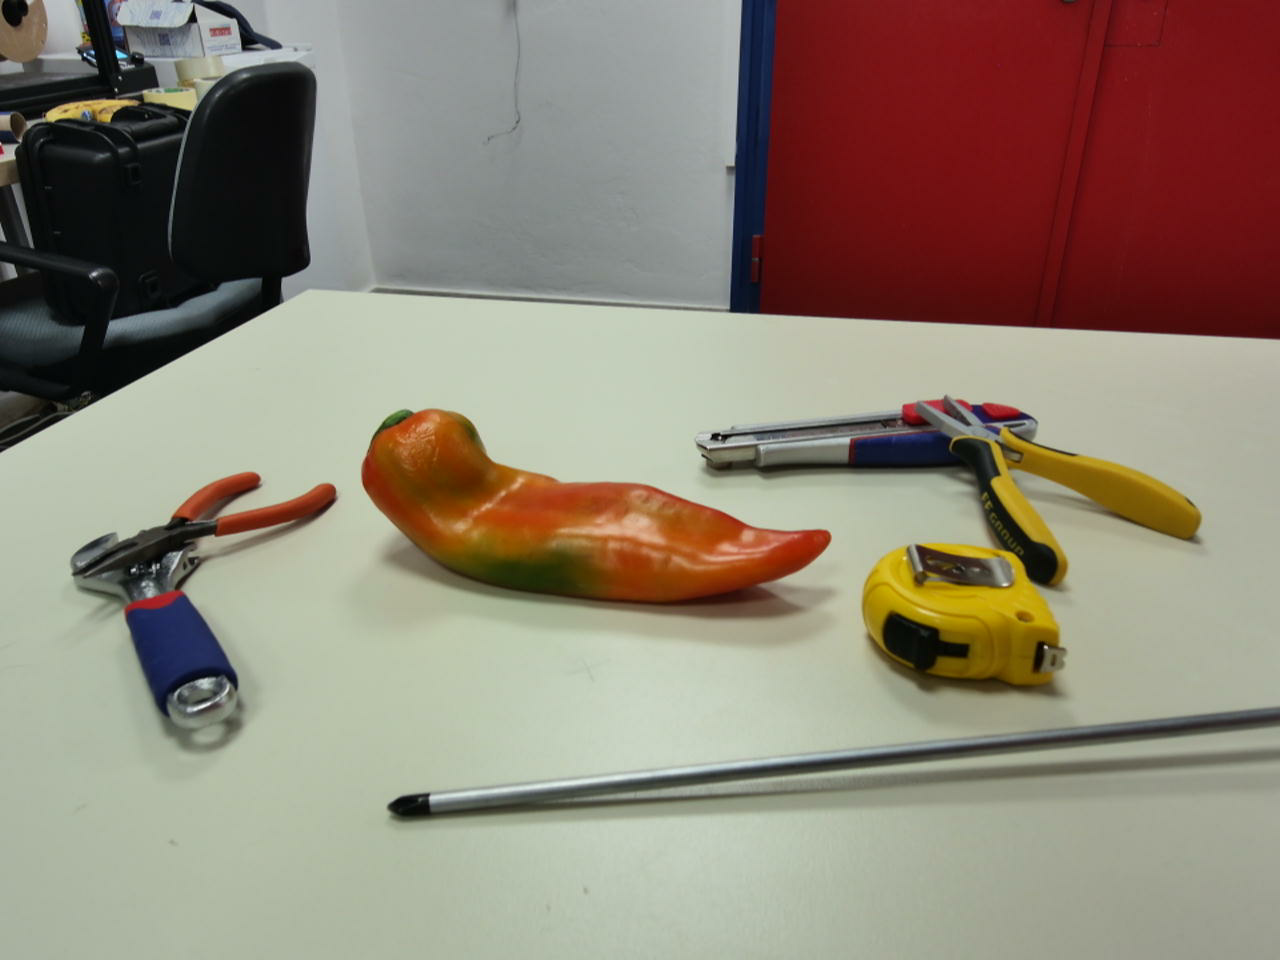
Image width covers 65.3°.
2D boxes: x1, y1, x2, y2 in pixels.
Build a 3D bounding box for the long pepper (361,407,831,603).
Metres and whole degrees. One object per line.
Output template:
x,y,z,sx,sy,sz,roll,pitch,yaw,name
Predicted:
-0.022,0.009,0.414,0.199,0.065,0.066,7,25,17,long pepper
